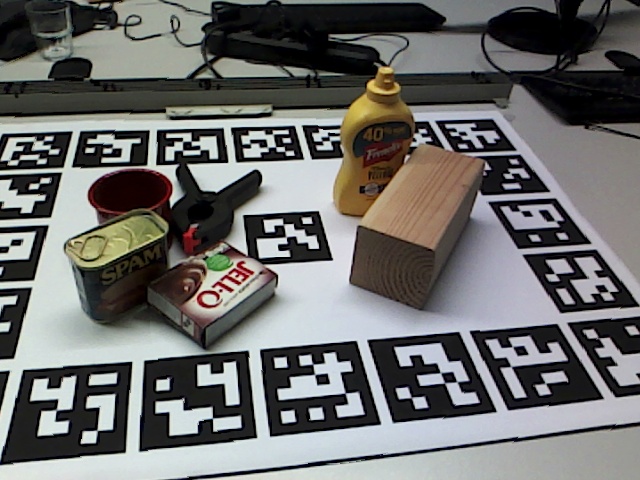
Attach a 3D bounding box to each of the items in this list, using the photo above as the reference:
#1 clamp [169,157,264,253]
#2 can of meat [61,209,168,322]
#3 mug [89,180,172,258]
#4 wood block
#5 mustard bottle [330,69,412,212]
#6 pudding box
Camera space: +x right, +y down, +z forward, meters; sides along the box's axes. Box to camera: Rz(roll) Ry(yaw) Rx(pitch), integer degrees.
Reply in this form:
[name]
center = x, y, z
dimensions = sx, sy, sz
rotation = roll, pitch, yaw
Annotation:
[clamp]
center = -0.148, -0.048, 0.803
dimensions = 0.122, 0.036, 0.165
rotation = 10, 42, 4
[can of meat]
center = -0.212, 0.028, 0.655
dimensions = 0.101, 0.083, 0.058
rotation = -27, 50, -32
[mug]
center = -0.221, -0.021, 0.756
dimensions = 0.093, 0.081, 0.117
rotation = 11, 42, 7
[wood block]
center = 0.123, -0.019, 0.751
dimensions = 0.090, 0.091, 0.206
rotation = 19, 40, 20
[mustard bottle]
center = 0.067, -0.126, 0.787
dimensions = 0.096, 0.191, 0.059
rotation = -7, 42, -13
[pudding box]
center = -0.114, 0.056, 0.673
dimensions = 0.090, 0.038, 0.113
rotation = 31, 45, 27
